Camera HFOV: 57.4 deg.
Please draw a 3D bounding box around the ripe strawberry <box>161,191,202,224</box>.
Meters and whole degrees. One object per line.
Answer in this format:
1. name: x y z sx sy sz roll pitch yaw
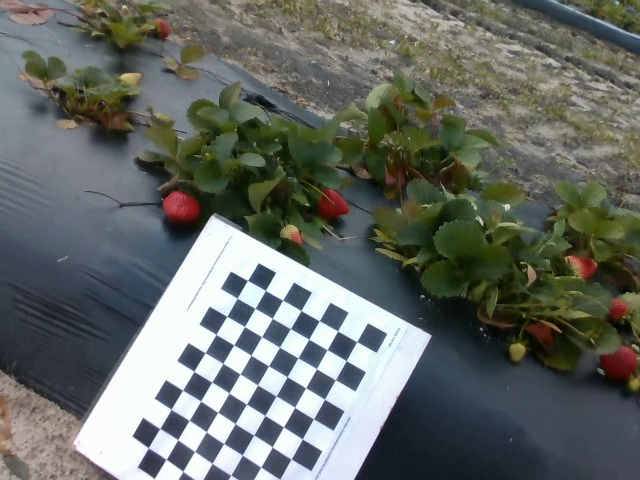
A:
1. ripe strawberry: -0.142 -0.033 0.567 0.037 0.037 0.046 -18 23 8
